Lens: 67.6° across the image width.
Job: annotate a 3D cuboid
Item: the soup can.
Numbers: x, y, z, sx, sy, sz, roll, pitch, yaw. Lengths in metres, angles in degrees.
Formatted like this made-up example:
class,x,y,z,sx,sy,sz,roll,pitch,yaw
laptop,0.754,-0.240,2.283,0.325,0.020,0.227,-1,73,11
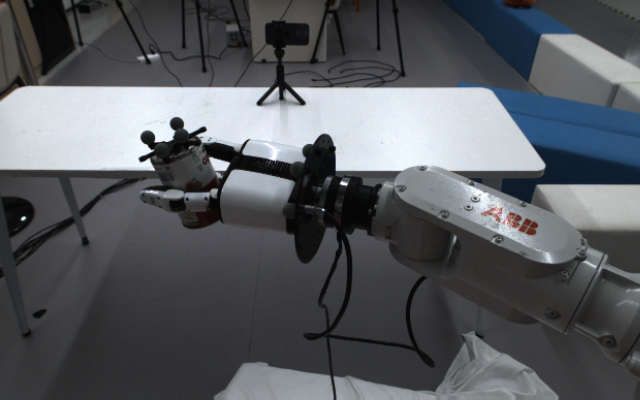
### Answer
class,x,y,z,sx,sy,sz,roll,pitch,yaw
soup can,-0.164,-0.022,0.621,0.067,0.101,0.067,-14,31,8
